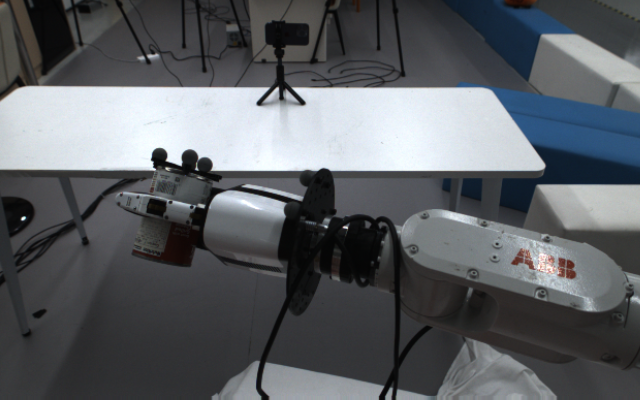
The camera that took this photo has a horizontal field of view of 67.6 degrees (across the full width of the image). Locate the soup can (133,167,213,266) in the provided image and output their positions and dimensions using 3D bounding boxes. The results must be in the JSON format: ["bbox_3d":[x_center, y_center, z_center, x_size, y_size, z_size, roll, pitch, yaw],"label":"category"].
[{"bbox_3d":[-0.165,0.020,0.551,0.067,0.101,0.067,13,-6,1],"label":"soup can"}]
